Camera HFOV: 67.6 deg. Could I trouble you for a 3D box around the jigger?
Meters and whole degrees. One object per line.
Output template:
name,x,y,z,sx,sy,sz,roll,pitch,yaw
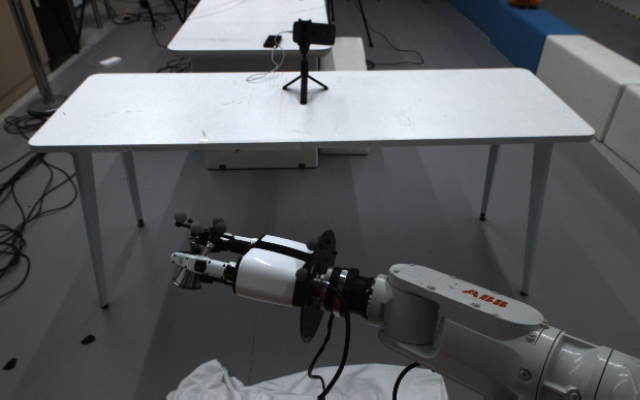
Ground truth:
jigger,-0.185,0.092,0.710,0.043,0.071,0.043,21,6,-2
